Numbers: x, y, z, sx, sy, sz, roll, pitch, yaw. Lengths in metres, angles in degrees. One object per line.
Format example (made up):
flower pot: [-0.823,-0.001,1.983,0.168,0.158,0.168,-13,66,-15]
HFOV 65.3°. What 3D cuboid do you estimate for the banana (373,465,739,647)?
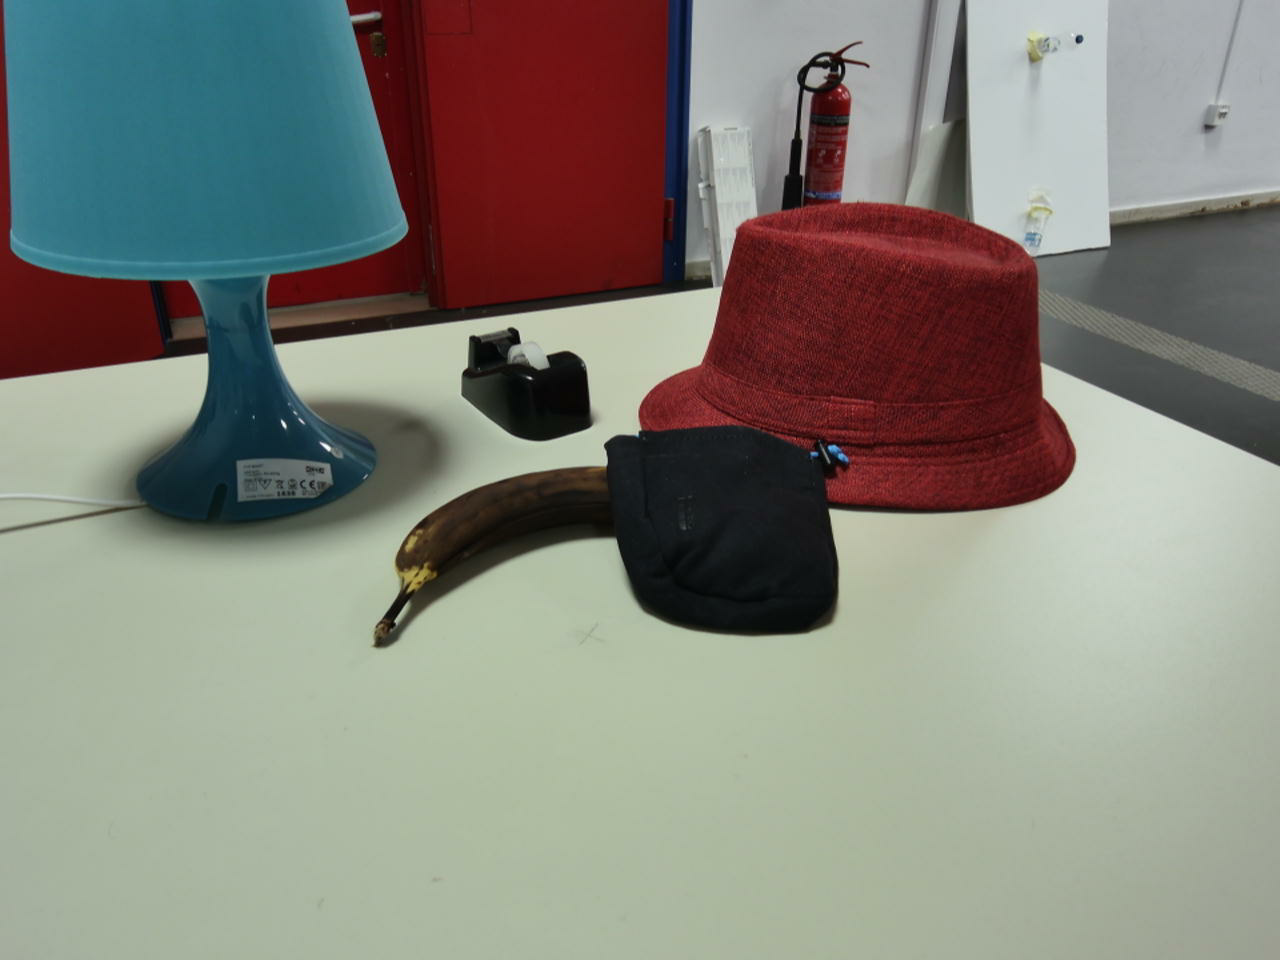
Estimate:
banana: [-0.048,0.023,0.503,0.188,0.034,0.091,-11,28,-22]
